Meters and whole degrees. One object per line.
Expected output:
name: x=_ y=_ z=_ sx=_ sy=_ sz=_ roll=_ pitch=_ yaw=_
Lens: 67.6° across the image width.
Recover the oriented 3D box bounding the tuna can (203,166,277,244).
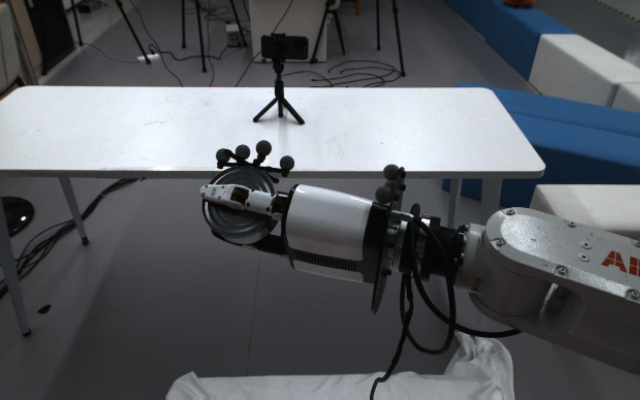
tuna can: x=-0.087 y=0.005 z=0.554 sx=0.085 sy=0.034 sz=0.085 roll=-3 pitch=69 yaw=7
